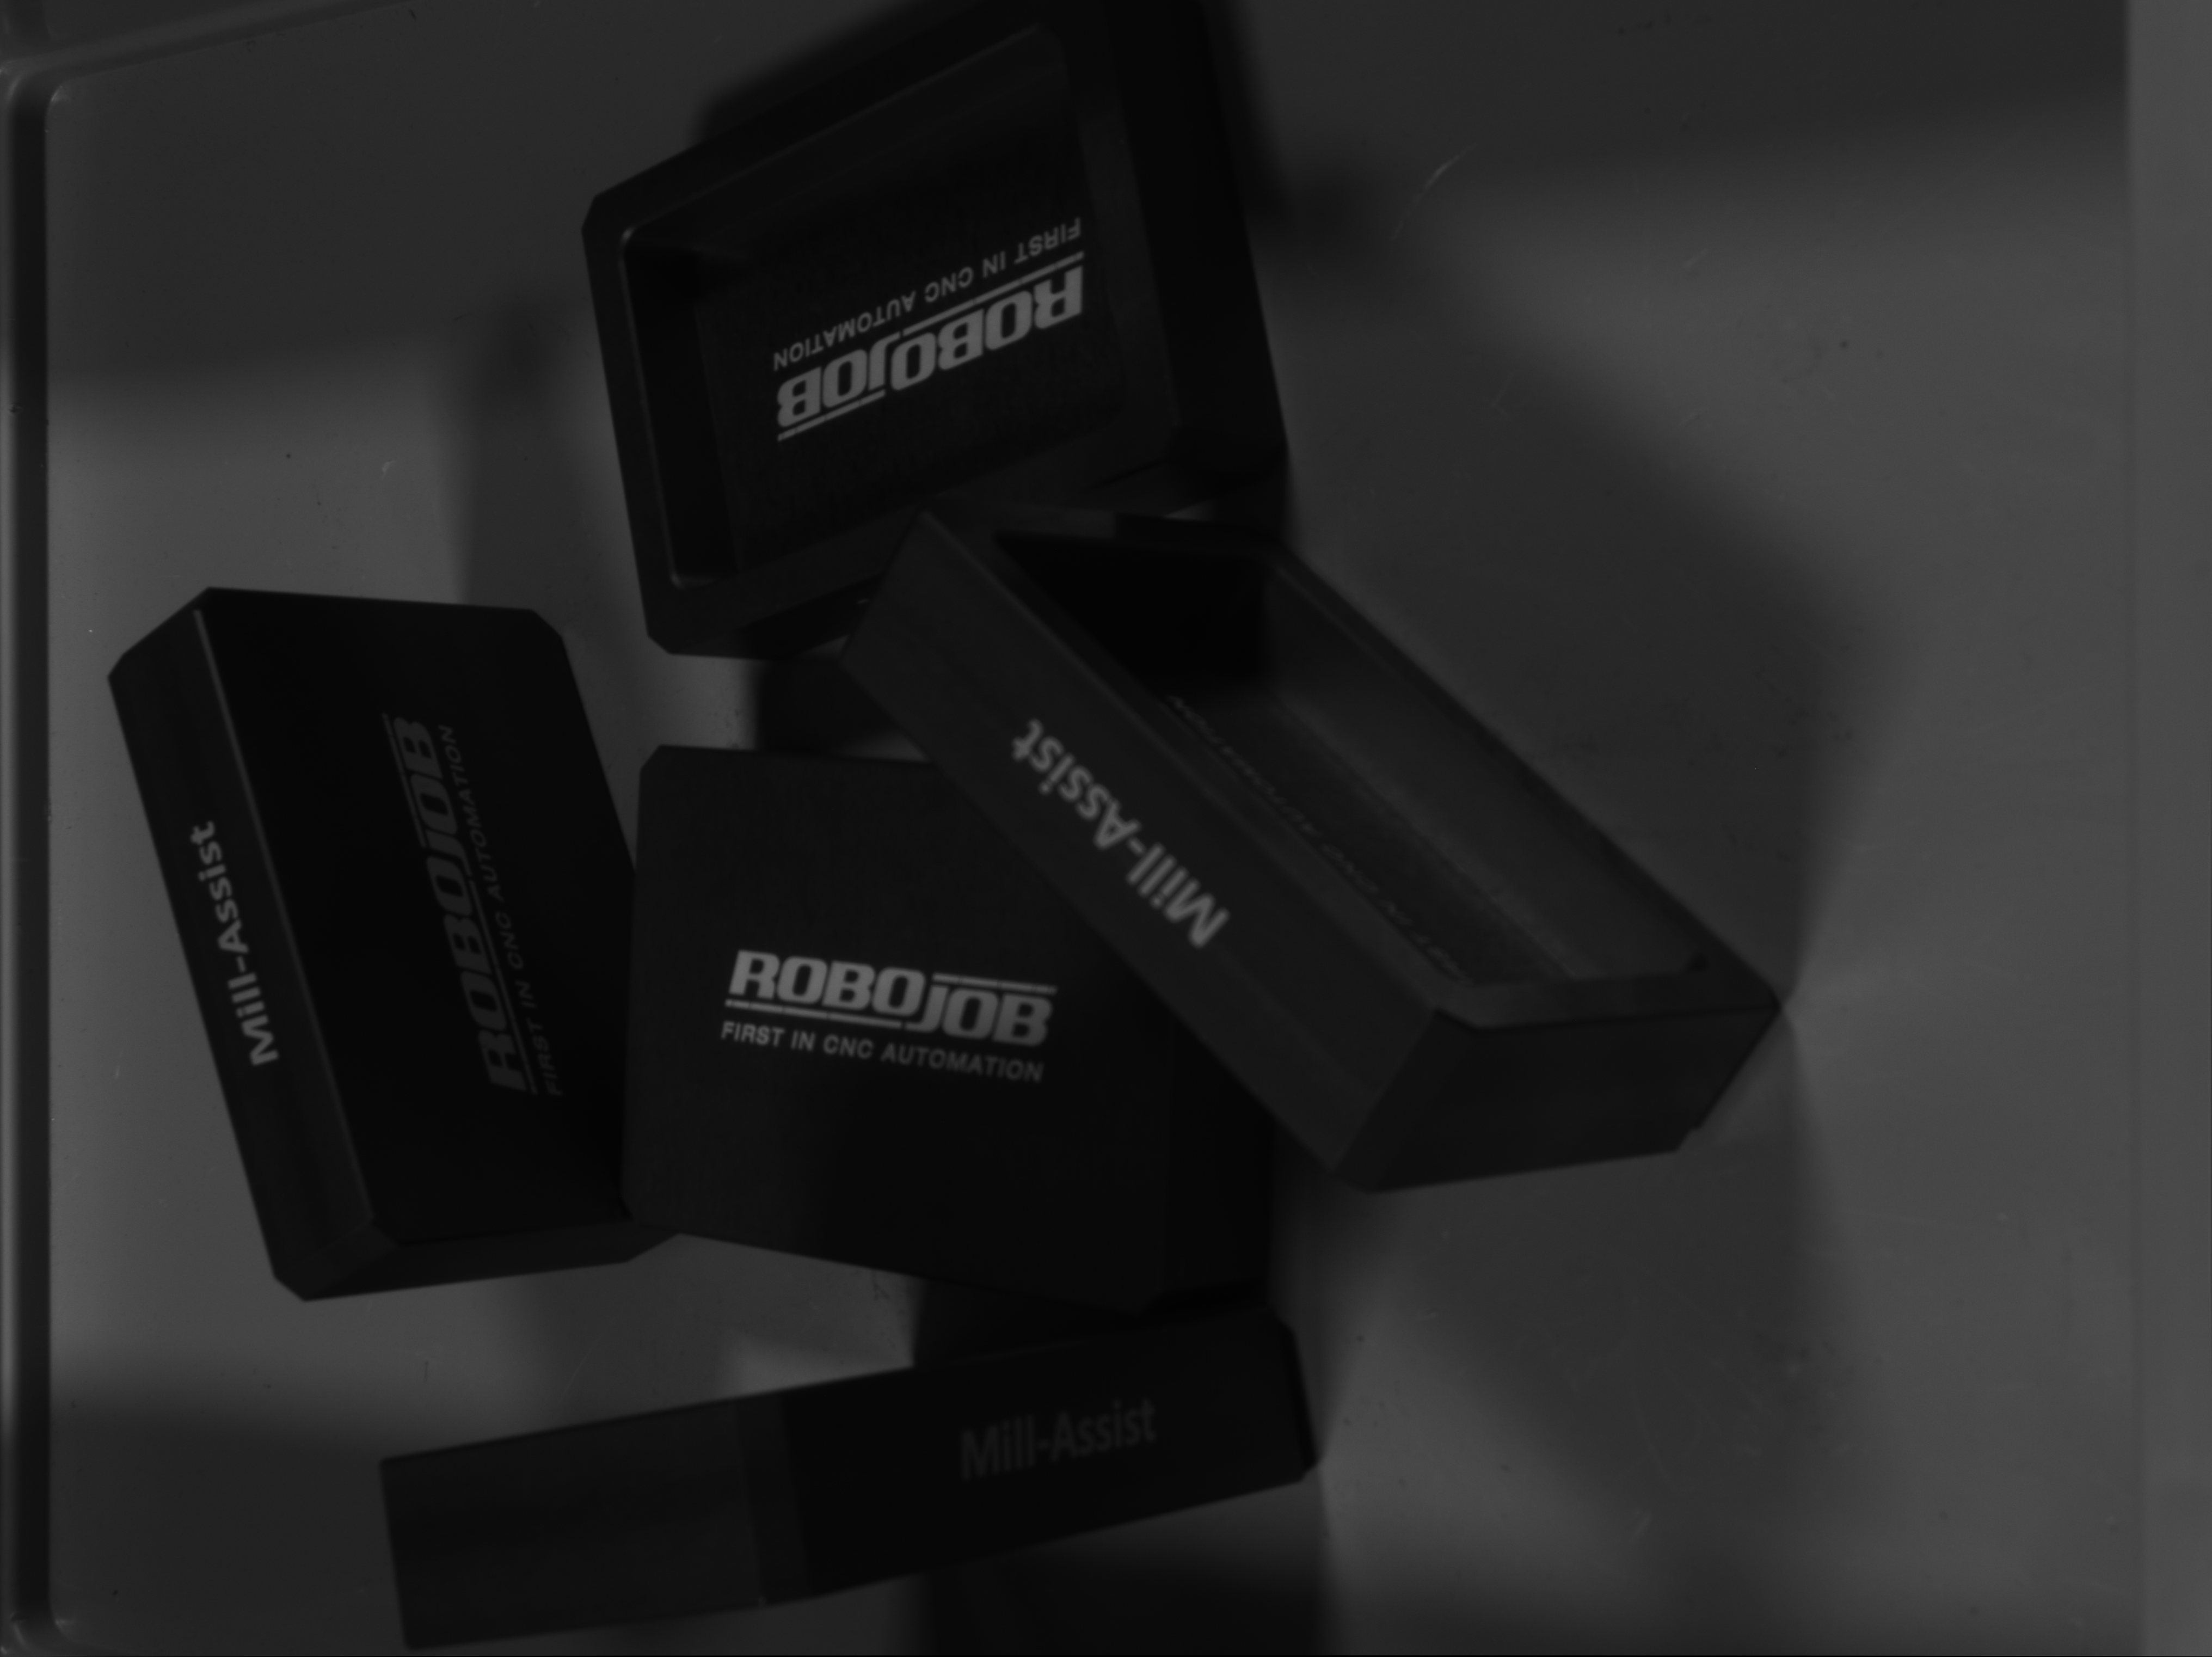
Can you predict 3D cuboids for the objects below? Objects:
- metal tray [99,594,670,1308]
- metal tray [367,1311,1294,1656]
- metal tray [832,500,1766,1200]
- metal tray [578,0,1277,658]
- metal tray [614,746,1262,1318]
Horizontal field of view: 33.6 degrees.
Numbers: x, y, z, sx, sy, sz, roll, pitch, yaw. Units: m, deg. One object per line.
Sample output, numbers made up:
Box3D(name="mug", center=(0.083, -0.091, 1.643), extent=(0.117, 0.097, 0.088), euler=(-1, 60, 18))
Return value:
Box3D(name="metal tray", center=(-0.132, 0.022, 0.700), extent=(0.030, 0.090, 0.130), euler=(-30, 72, 34))
Box3D(name="metal tray", center=(-0.042, 0.106, 0.600), extent=(0.090, 0.130, 0.030), euler=(-16, 80, 38))
Box3D(name="metal tray", center=(0.029, 0.000, 0.568), extent=(0.130, 0.090, 0.030), euler=(45, 117, 30))
Box3D(name="metal tray", center=(-0.036, -0.090, 0.661), extent=(0.130, 0.030, 0.090), euler=(-17, 79, 38))
Box3D(name="metal tray", center=(-0.032, 0.033, 0.655), extent=(0.130, 0.030, 0.090), euler=(4, 93, 39))
